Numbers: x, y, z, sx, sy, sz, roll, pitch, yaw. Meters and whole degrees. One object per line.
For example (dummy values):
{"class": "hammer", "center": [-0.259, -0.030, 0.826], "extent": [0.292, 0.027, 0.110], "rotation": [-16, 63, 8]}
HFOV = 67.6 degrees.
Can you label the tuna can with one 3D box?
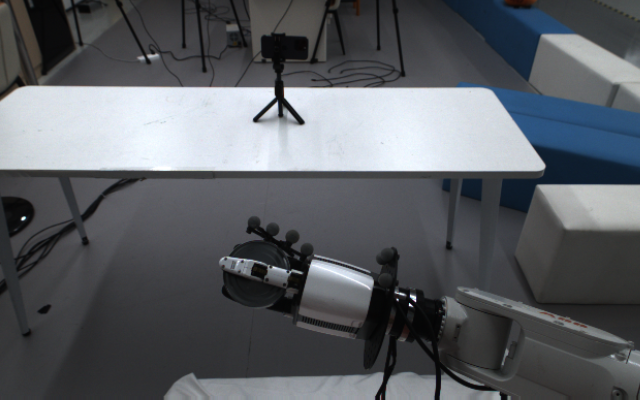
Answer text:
{"class": "tuna can", "center": [-0.078, 0.096, 0.624], "extent": [0.085, 0.034, 0.085], "rotation": [0, 72, 0]}
